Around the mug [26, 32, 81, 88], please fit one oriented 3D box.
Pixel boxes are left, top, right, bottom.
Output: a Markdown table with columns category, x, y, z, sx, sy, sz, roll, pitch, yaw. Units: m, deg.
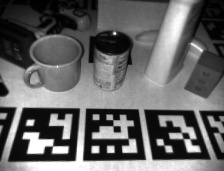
| category | x | y | z | sx | sy | sz | roll | pitch | yaw |
| --- | --- | --- | --- | --- | --- | --- | --- | --- | --- |
| mug | -0.114 | -0.043 | 0.419 | 0.092 | 0.082 | 0.118 | 35 | 58 | 17 |

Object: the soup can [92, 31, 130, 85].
| category | x | y | z | sx | sy | sz | roll | pitch | yaw |
| --- | --- | --- | --- | --- | --- | --- | --- | --- | --- |
| soup can | -0.006 | -0.058 | 0.427 | 0.068 | 0.102 | 0.067 | 5 | 46 | -4 |

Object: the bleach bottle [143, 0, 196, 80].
| category | x | y | z | sx | sy | sz | roll | pitch | yaw |
| --- | --- | --- | --- | --- | --- | --- | --- | --- | --- |
| bleach bottle | 0.121 | -0.127 | 0.414 | 0.067 | 0.251 | 0.103 | 21 | 51 | 12 |

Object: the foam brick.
| category | x | y | z | sx | sy | sz | roll | pitch | yaw |
| --- | --- | --- | --- | --- | --- | --- | --- | --- | --- |
| foam brick | 0.196 | -0.037 | 0.466 | 0.052 | 0.078 | 0.051 | 24 | 50 | 15 |

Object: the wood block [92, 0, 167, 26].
| category | x | y | z | sx | sy | sz | roll | pitch | yaw |
| --- | --- | --- | --- | --- | --- | --- | --- | --- | --- |
| wood block | 0.050 | -0.224 | 0.587 | 0.207 | 0.091 | 0.089 | -2 | 52 | -9 |

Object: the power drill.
| category | x | y | z | sx | sy | sz | roll | pitch | yaw |
| --- | --- | --- | --- | --- | --- | --- | --- | --- | --- |
| power drill | -0.176 | -0.143 | 0.516 | 0.184 | 0.057 | 0.187 | 24 | 51 | 7 |

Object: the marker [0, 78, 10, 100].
| category | x | y | z | sx | sy | sz | roll | pitch | yaw |
| --- | --- | --- | --- | --- | --- | --- | --- | --- | --- |
| marker | -0.231 | -0.016 | 0.426 | 0.020 | 0.020 | 0.120 | -28 | 61 | -24 |

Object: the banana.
| category | x | y | z | sx | sy | sz | roll | pitch | yaw |
| --- | --- | --- | --- | --- | --- | --- | --- | --- | --- |
| banana | 0.137 | -0.143 | 0.562 | 0.197 | 0.039 | 0.074 | 12 | 64 | -1 |
